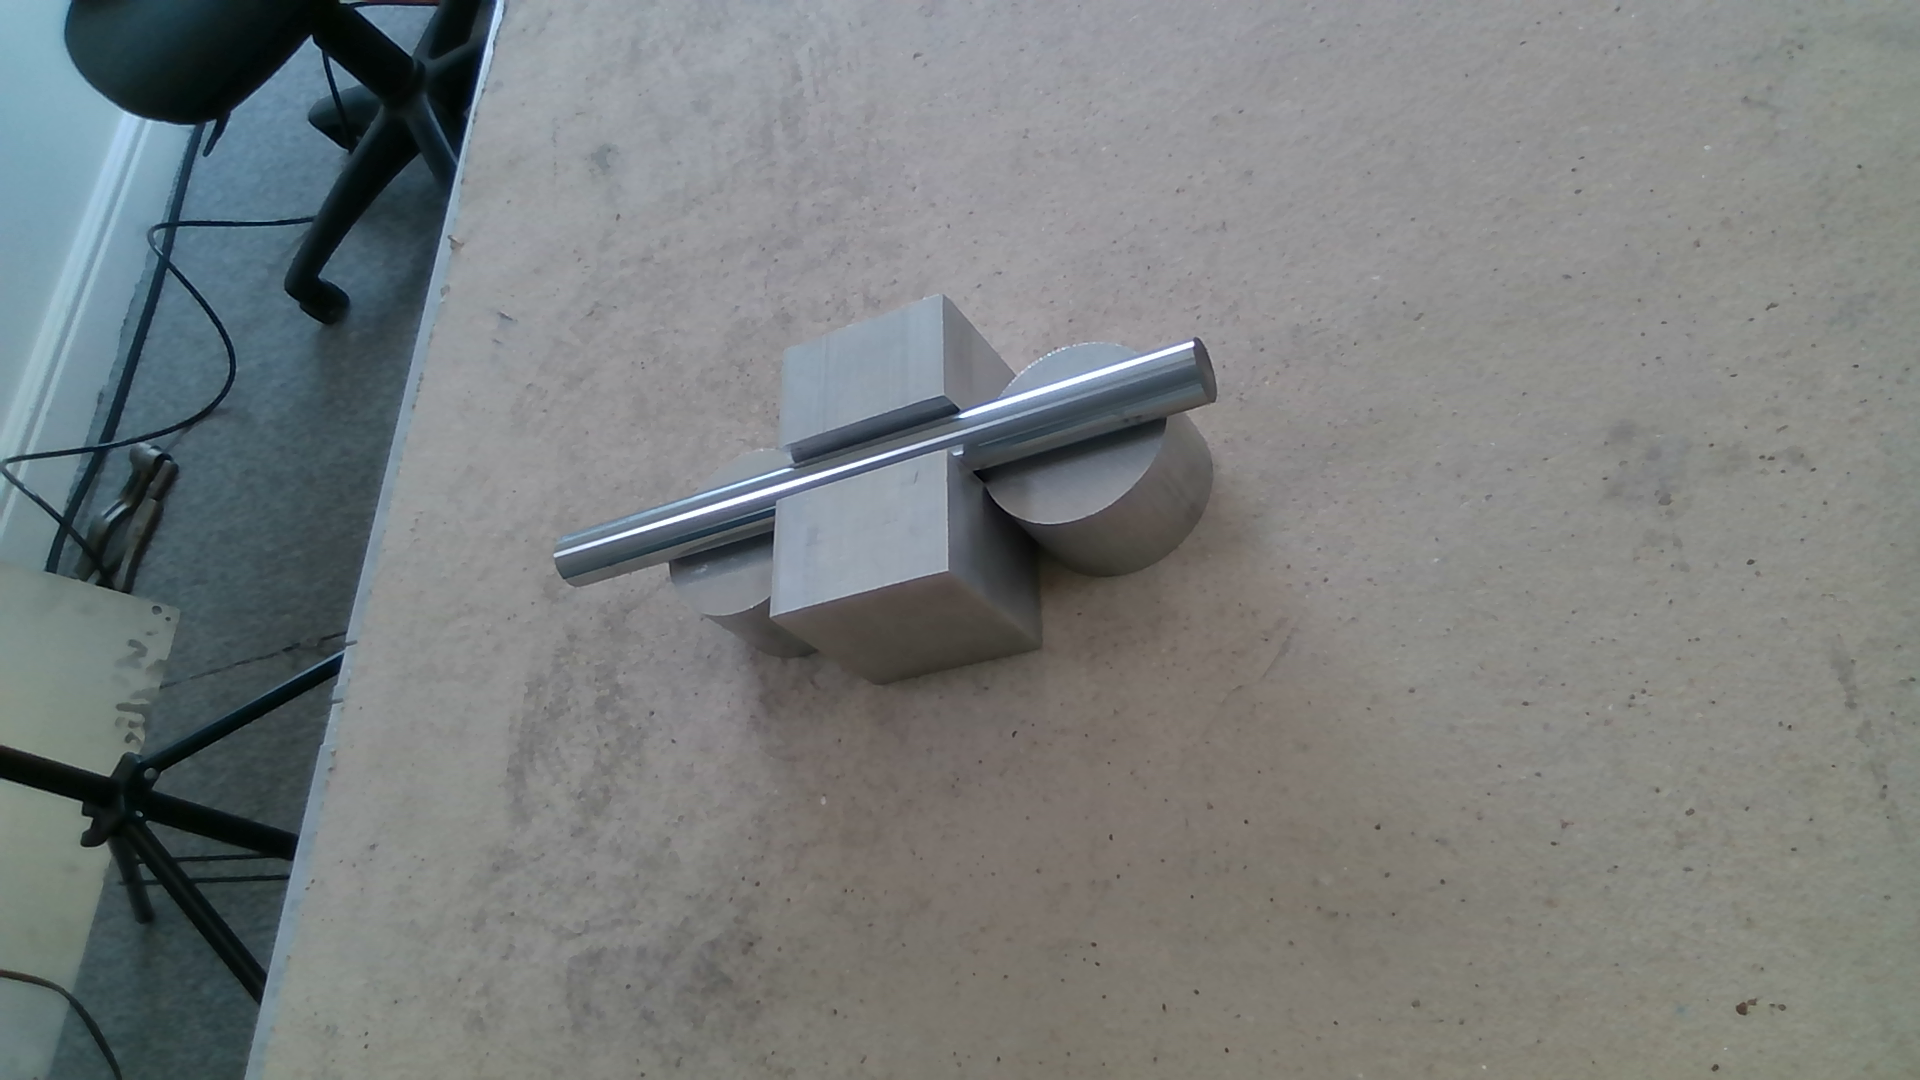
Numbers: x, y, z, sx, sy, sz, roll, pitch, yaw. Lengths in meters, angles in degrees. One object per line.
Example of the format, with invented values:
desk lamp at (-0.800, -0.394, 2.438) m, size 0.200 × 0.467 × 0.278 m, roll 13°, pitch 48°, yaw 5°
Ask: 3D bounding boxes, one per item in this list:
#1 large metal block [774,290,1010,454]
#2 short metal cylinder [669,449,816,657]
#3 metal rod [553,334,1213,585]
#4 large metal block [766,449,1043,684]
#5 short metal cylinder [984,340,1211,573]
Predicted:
large metal block at (-0.023, -0.053, 0.593) m, size 0.080 × 0.080 × 0.050 m, roll -15°, pitch 58°, yaw 24°
short metal cylinder at (-0.083, 0.006, 0.619) m, size 0.080 × 0.050 × 0.080 m, roll -14°, pitch 59°, yaw 24°
metal rod at (-0.043, -0.027, 0.562) m, size 0.300 × 0.025 × 0.025 m, roll -15°, pitch 58°, yaw 24°
large metal block at (-0.021, 0.014, 0.556) m, size 0.080 × 0.080 × 0.050 m, roll -15°, pitch 58°, yaw 24°
short metal cylinder at (0.054, -0.033, 0.554) m, size 0.080 × 0.050 × 0.080 m, roll -14°, pitch 59°, yaw 24°
